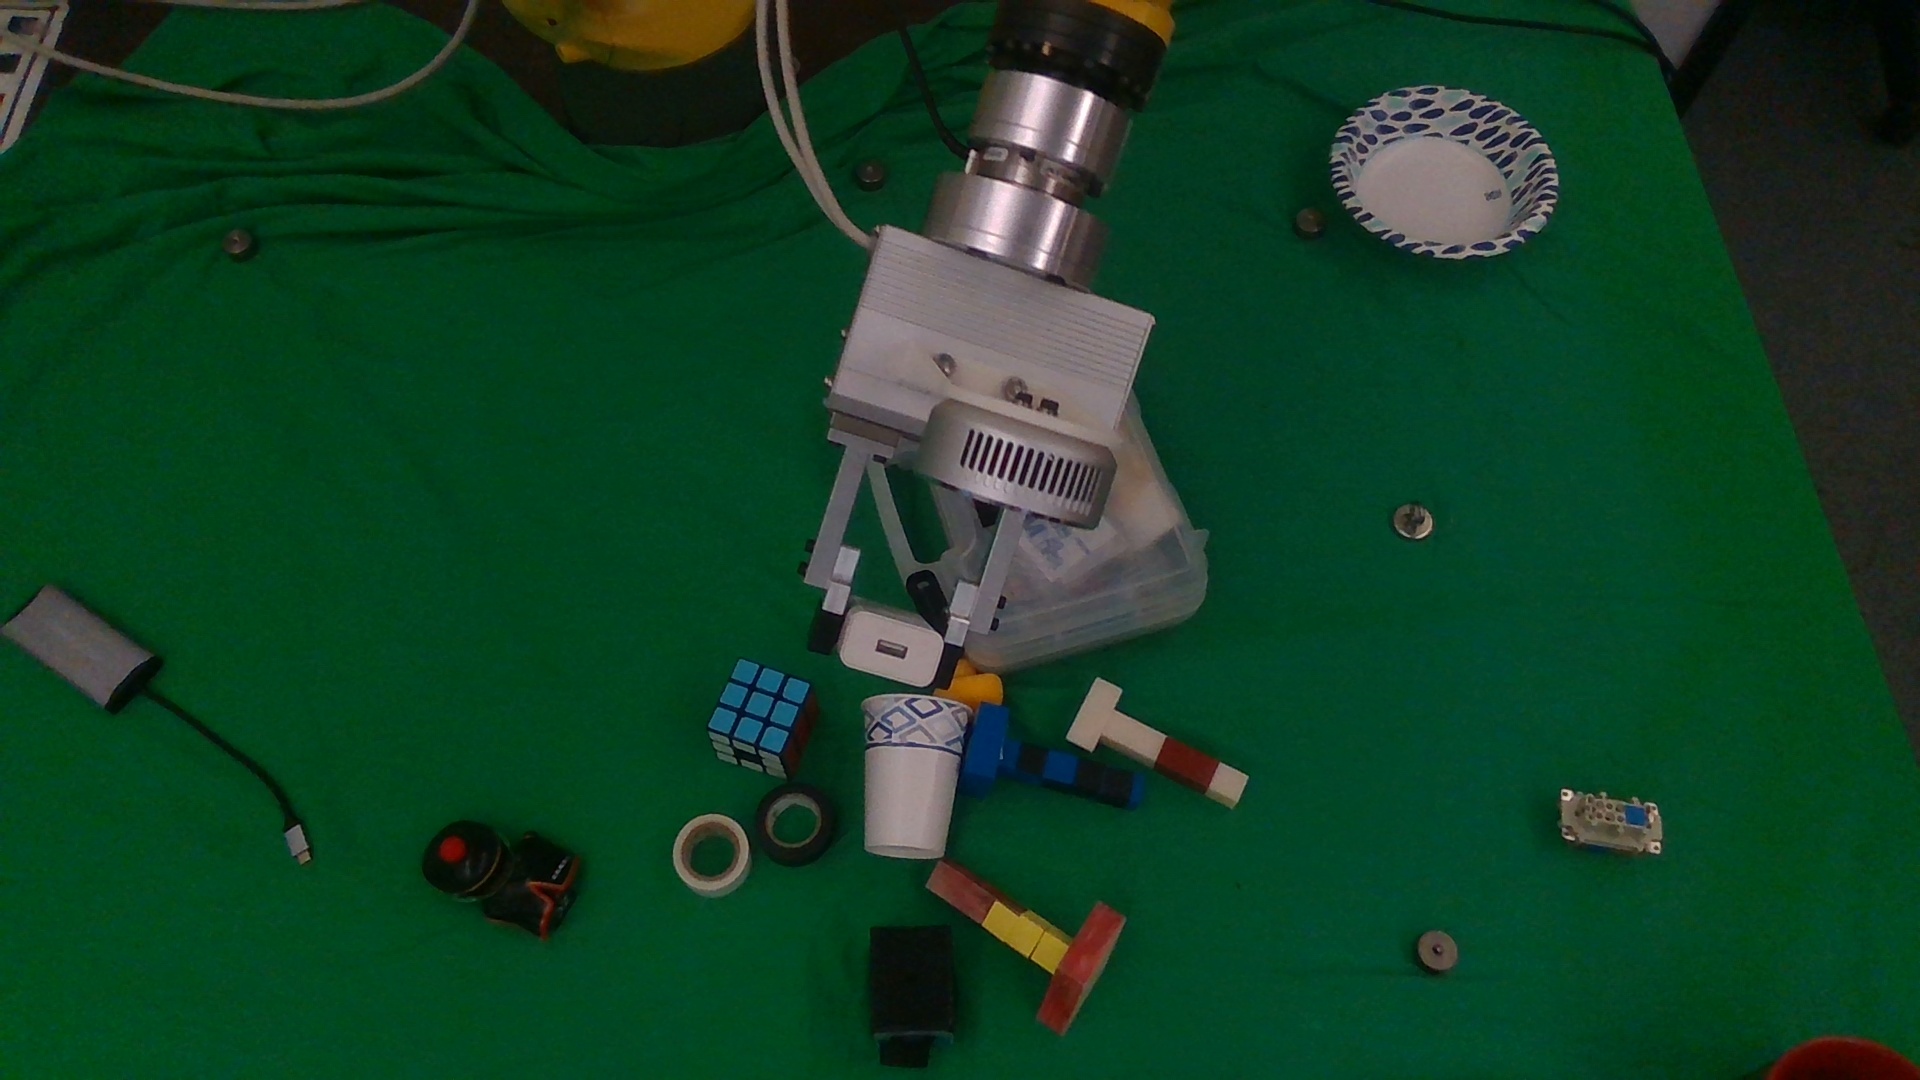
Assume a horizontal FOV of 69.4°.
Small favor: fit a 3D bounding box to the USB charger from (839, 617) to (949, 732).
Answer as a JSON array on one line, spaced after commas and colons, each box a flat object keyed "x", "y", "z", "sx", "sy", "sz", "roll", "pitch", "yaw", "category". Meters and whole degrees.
[{"x": -0.028, "y": 0.052, "z": 0.580, "sx": 0.044, "sy": 0.075, "sz": 0.029, "roll": 24, "pitch": 96, "yaw": -5, "category": "USB charger"}]

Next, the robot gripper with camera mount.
[{"x": 0.011, "y": -0.007, "z": 0.491, "sx": 0.119, "sy": 0.193, "sz": 0.158, "roll": 16, "pitch": 93, "yaw": -11, "category": "robot gripper with camera mount"}]
